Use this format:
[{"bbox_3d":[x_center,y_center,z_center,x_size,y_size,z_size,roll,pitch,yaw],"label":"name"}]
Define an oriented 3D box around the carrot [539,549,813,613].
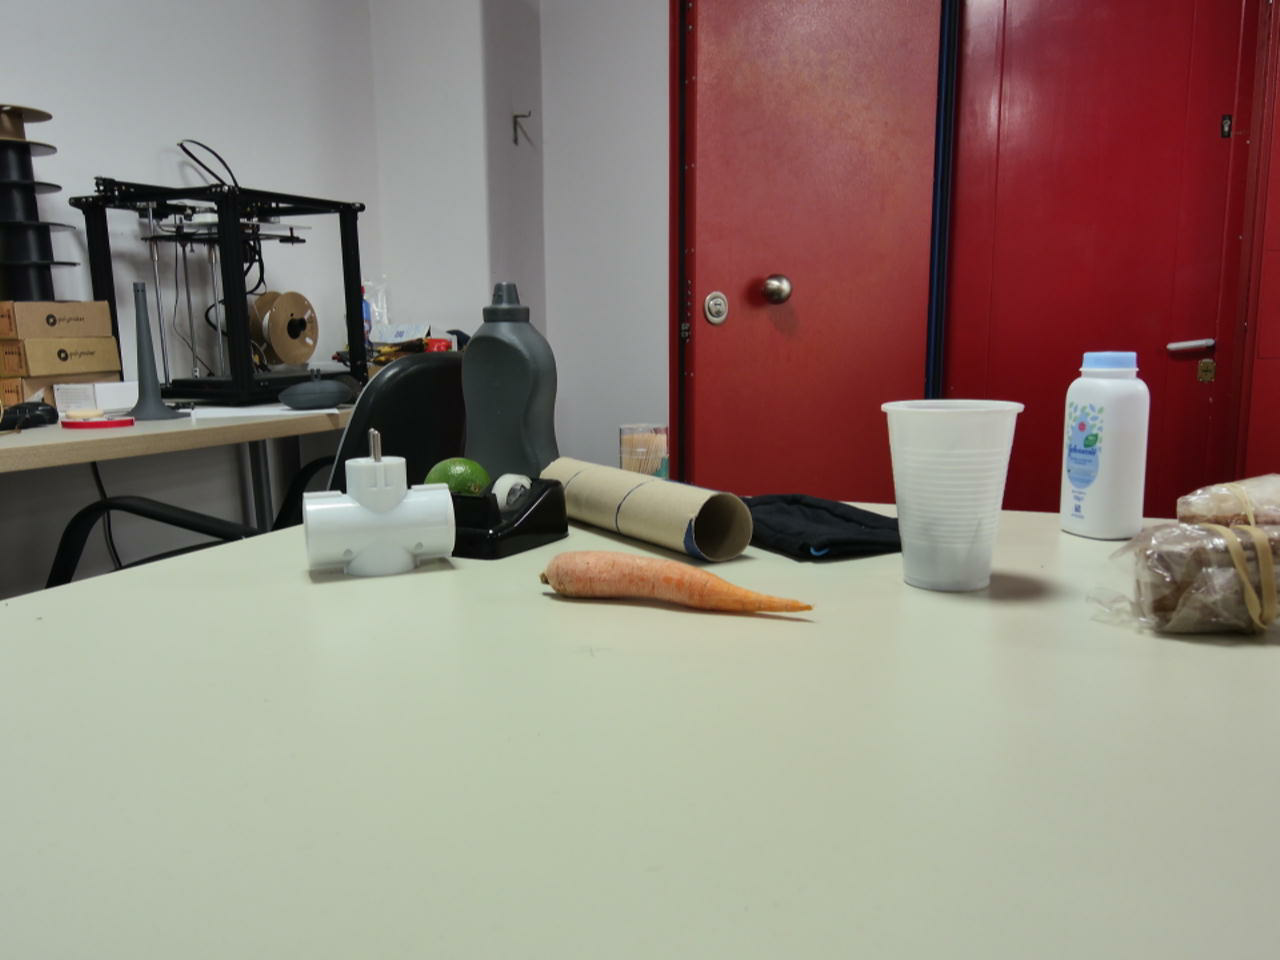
[{"bbox_3d":[0.016,0.057,0.557,0.163,0.029,0.031,3,7,23],"label":"carrot"}]
